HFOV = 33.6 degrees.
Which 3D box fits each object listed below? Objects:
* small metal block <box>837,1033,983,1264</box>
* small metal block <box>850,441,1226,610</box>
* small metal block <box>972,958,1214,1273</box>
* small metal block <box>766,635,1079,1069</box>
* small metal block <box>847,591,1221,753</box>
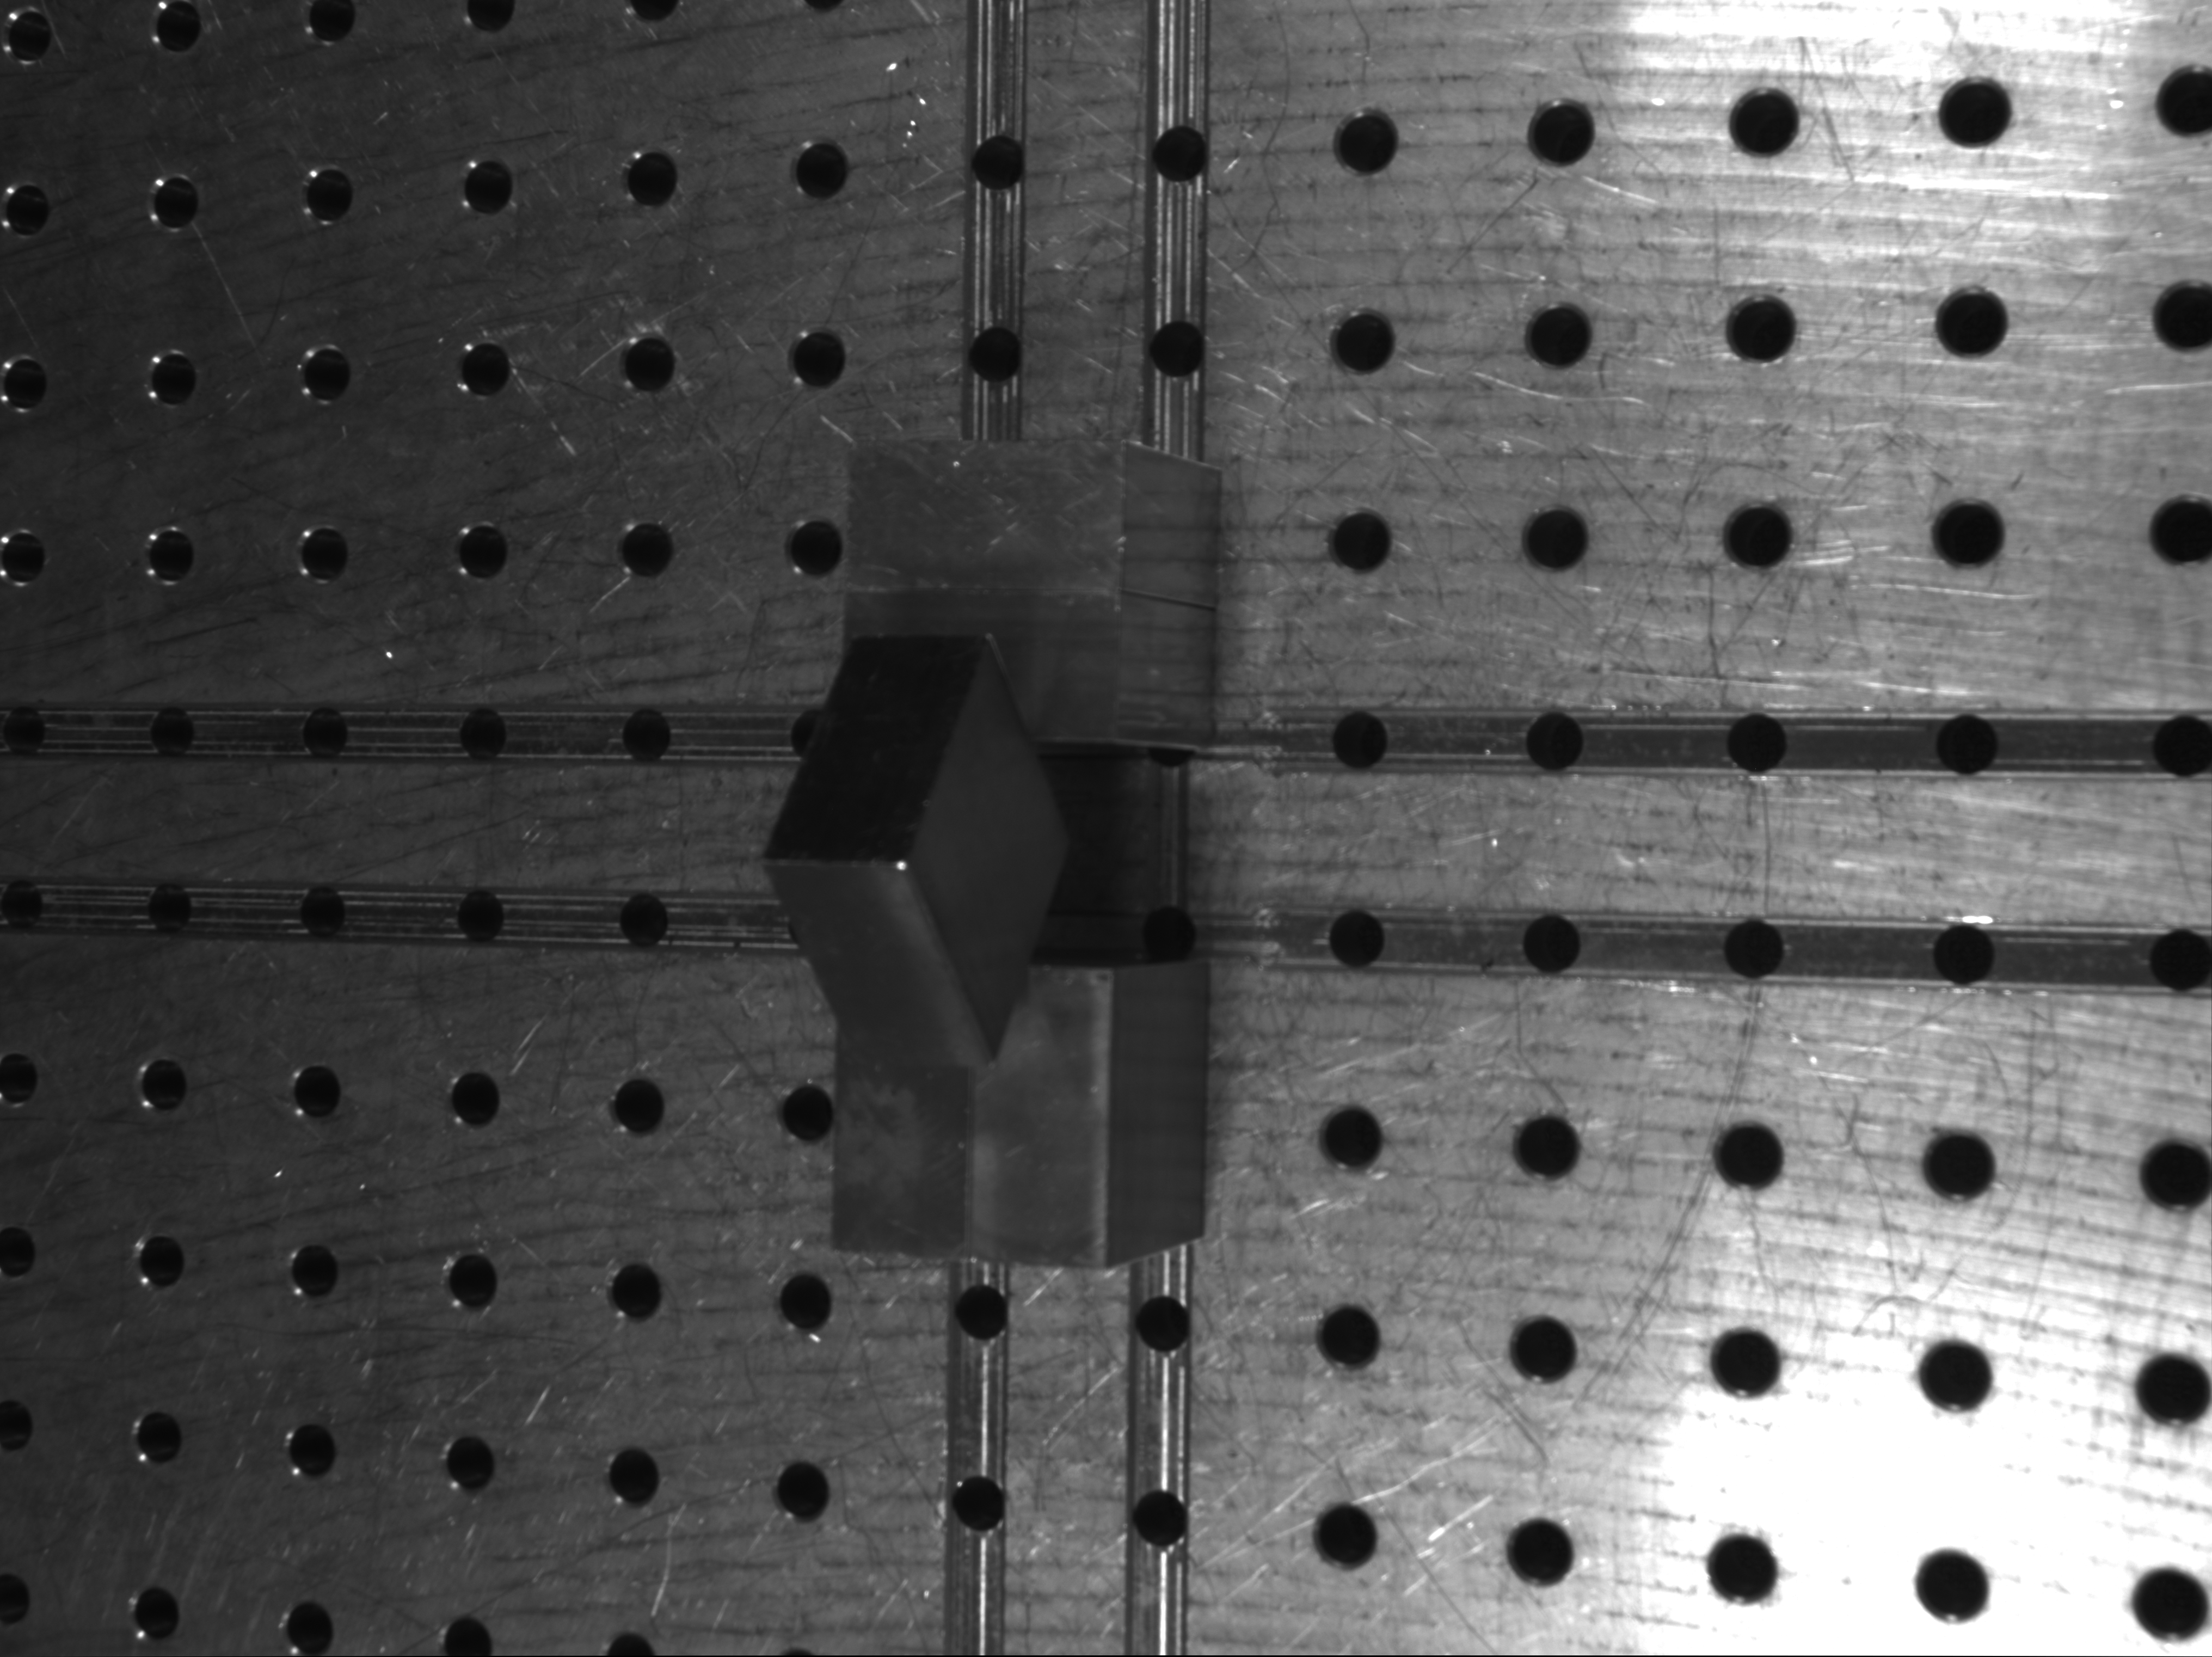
[{"bbox_3d":[-0.025,0.048,0.642,0.025,0.050,0.050,1,90,20],"label":"small metal block"},{"bbox_3d":[-0.011,-0.052,0.637,0.050,0.050,0.025,2,91,20],"label":"small metal block"},{"bbox_3d":[-0.002,0.048,0.633,0.025,0.050,0.050,1,90,20],"label":"small metal block"},{"bbox_3d":[-0.029,0.004,0.600,0.025,0.050,0.050,1,48,21],"label":"small metal block"},{"bbox_3d":[-0.012,-0.027,0.637,0.050,0.050,0.025,2,91,20],"label":"small metal block"}]
